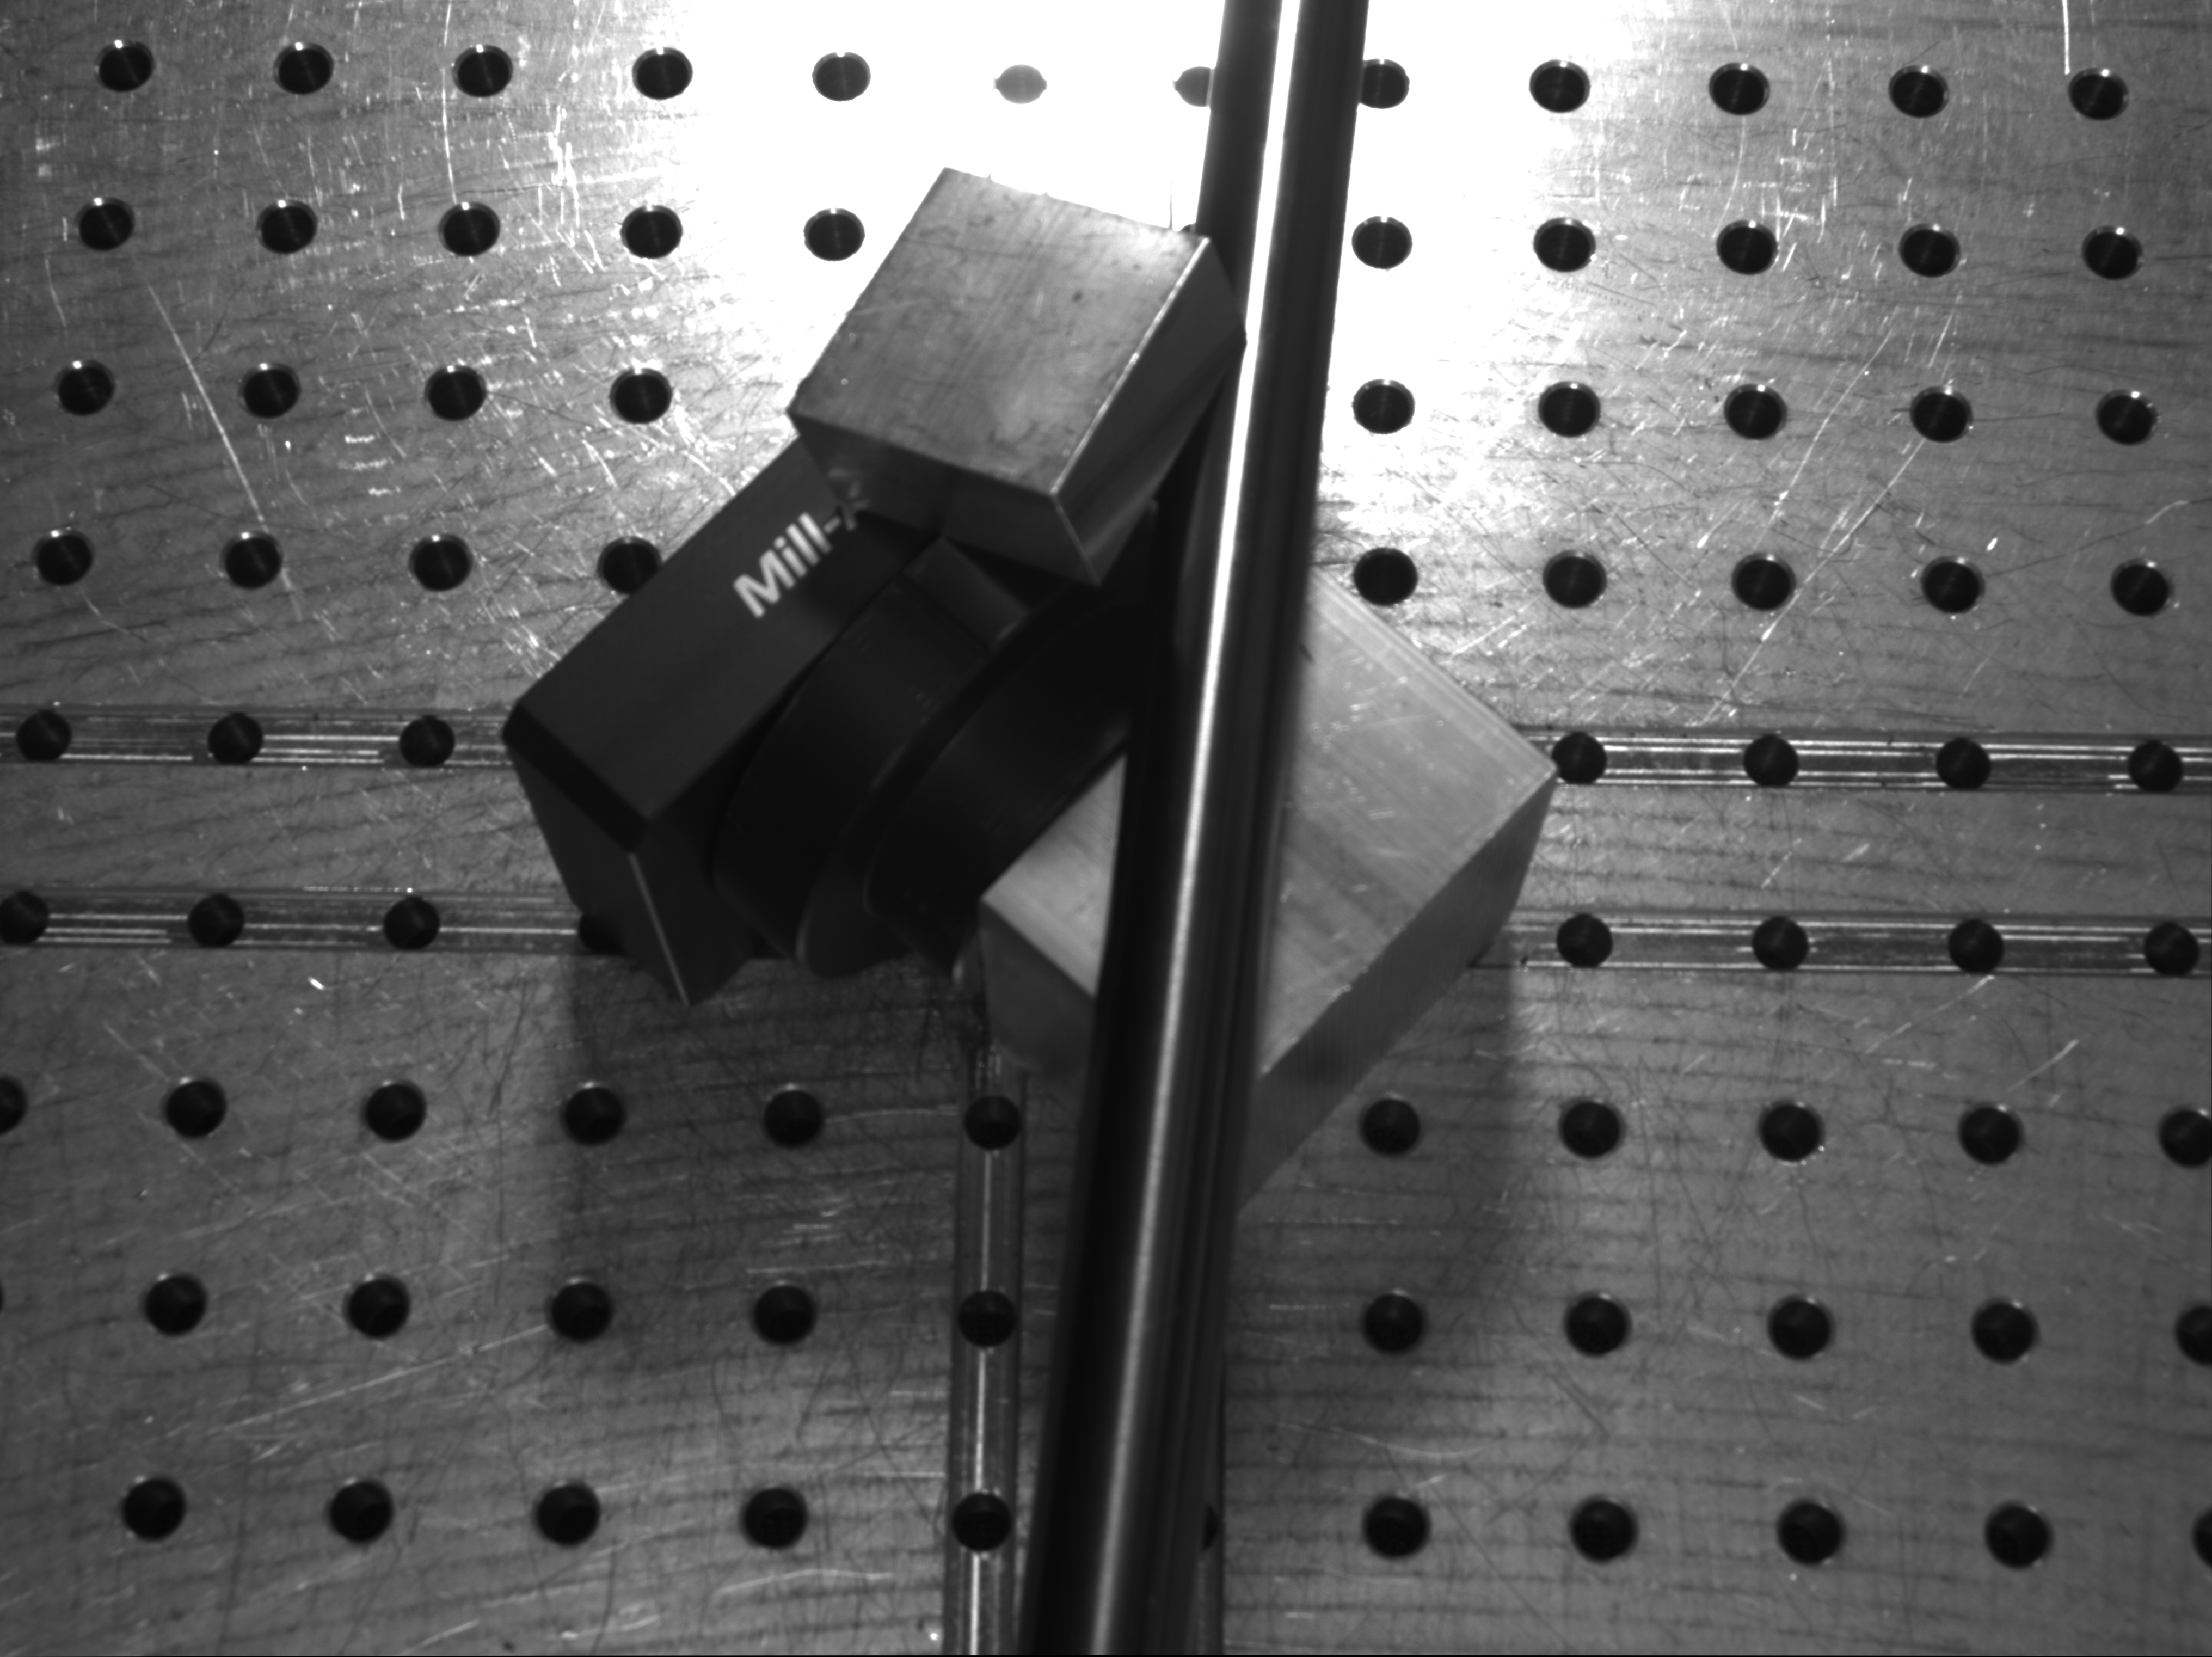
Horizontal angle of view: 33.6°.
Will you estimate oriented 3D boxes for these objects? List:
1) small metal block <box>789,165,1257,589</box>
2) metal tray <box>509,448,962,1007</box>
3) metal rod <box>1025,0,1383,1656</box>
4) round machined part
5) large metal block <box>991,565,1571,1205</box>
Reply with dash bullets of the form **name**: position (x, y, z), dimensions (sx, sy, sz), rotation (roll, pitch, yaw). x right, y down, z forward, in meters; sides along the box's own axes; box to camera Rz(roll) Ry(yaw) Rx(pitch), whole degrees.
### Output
- **small metal block**: position (-0.012, -0.071, 0.569), dimensions (0.050, 0.025, 0.050), rotation (20, 68, 27)
- **metal tray**: position (-0.039, -0.036, 0.626), dimensions (0.030, 0.090, 0.130), rotation (41, 75, 14)
- **metal rod**: position (0.018, -0.017, 0.568), dimensions (0.025, 0.025, 0.300), rotation (6, 70, 2)
- **round machined part**: position (-0.017, -0.012, 0.617), dimensions (0.042, 0.098, 0.098), rotation (40, 75, 14)
- **large metal block**: position (0.028, 0.015, 0.609), dimensions (0.050, 0.080, 0.080), rotation (41, 75, 14)
